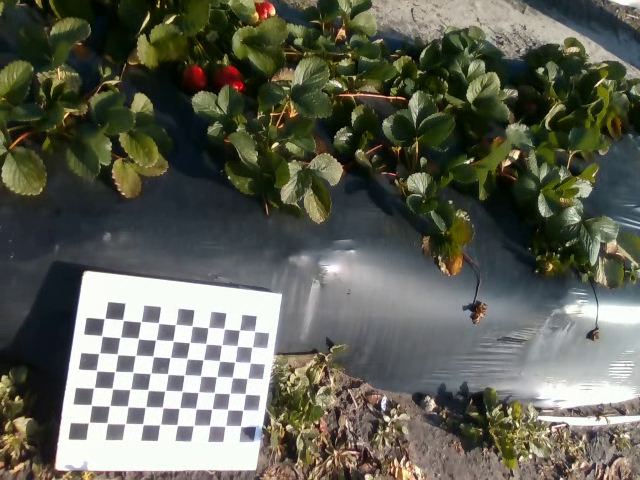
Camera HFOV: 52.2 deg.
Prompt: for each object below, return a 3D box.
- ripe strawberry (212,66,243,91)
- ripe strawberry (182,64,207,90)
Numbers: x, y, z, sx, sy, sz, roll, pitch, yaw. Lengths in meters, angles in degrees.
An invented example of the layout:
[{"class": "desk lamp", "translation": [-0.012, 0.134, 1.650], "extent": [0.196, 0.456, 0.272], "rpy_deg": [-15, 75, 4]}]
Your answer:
[{"class": "ripe strawberry", "translation": [-0.144, -0.254, 0.991], "extent": [0.052, 0.058, 0.046], "rpy_deg": [-28, -37, -15]}, {"class": "ripe strawberry", "translation": [-0.193, -0.251, 0.964], "extent": [0.043, 0.052, 0.037], "rpy_deg": [-37, -32, -12]}]
